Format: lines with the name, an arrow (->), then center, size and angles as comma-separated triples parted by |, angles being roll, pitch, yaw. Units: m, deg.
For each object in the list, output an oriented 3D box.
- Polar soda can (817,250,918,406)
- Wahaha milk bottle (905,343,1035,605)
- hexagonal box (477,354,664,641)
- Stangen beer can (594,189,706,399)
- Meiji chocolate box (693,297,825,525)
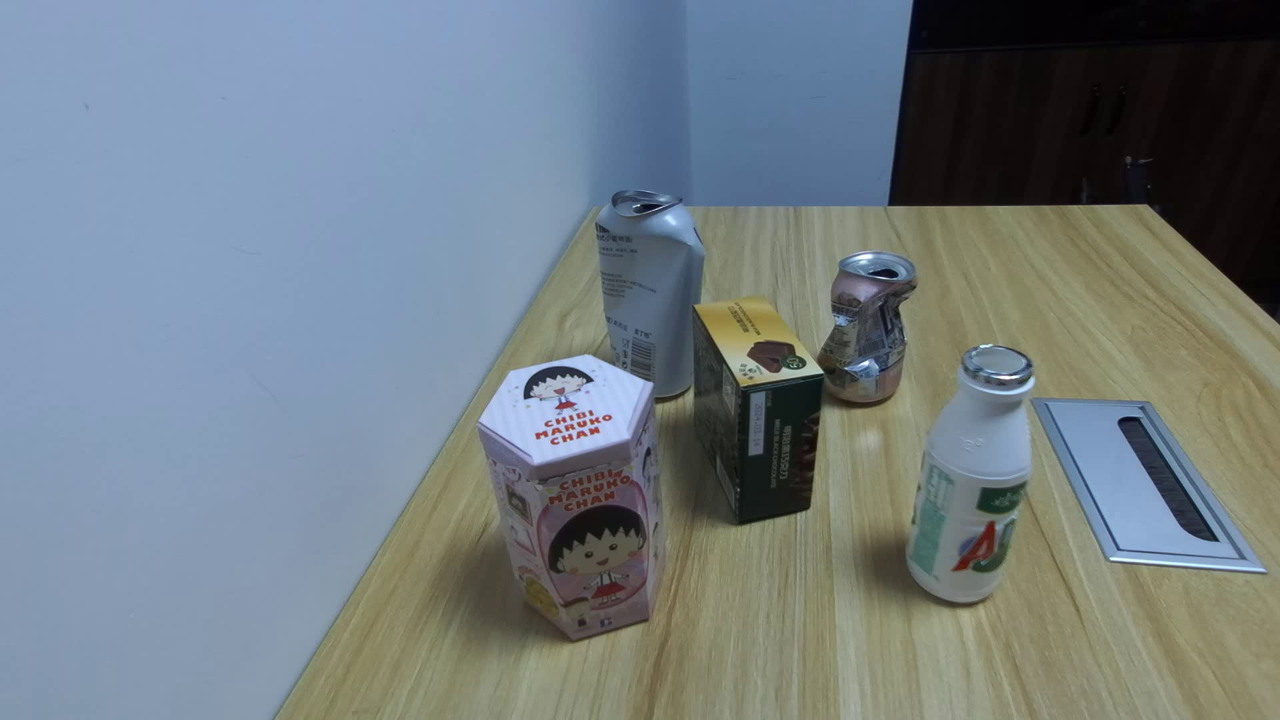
Polar soda can -> 0.173, -0.025, 0.542 | 0.070, 0.114, 0.074 | 1, 38, 0
Wahaha milk bottle -> 0.177, 0.067, 0.377 | 0.053, 0.137, 0.053 | -4, 31, 3
hexagonal box -> -0.031, 0.077, 0.390 | 0.091, 0.136, 0.083 | -13, 34, -12
Stangen beer can -> 0.010, -0.048, 0.551 | 0.077, 0.162, 0.065 | -6, 33, -2
Meiji chocolate box -> 0.074, 0.030, 0.472 | 0.056, 0.109, 0.109 | -9, 33, -8
